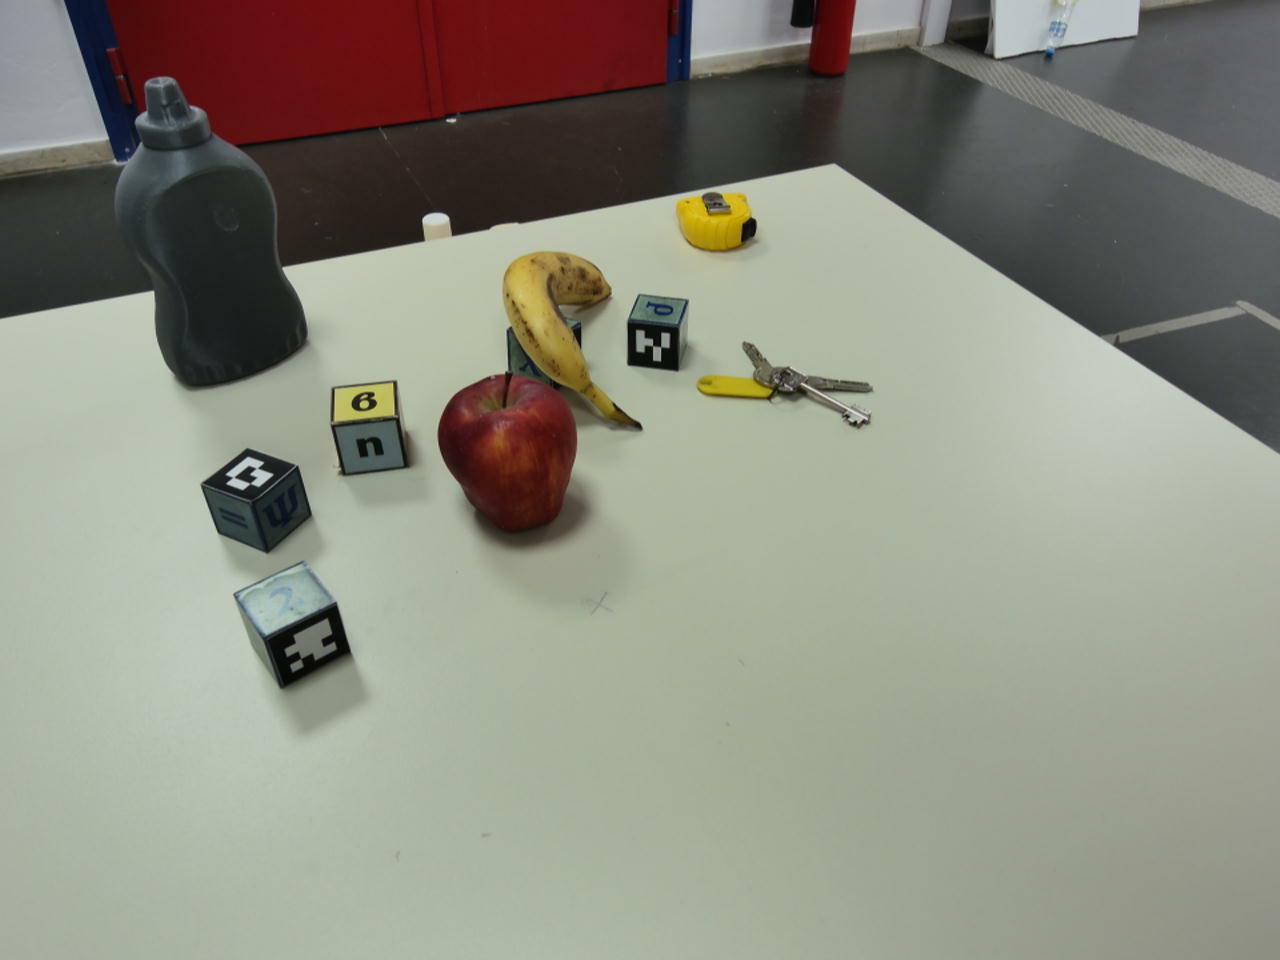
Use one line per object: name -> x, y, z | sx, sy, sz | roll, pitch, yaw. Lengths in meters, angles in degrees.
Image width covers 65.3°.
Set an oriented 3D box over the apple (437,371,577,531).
apple -> -0.074, -0.021, 0.564 | 0.083, 0.090, 0.083 | 0, 39, 0
